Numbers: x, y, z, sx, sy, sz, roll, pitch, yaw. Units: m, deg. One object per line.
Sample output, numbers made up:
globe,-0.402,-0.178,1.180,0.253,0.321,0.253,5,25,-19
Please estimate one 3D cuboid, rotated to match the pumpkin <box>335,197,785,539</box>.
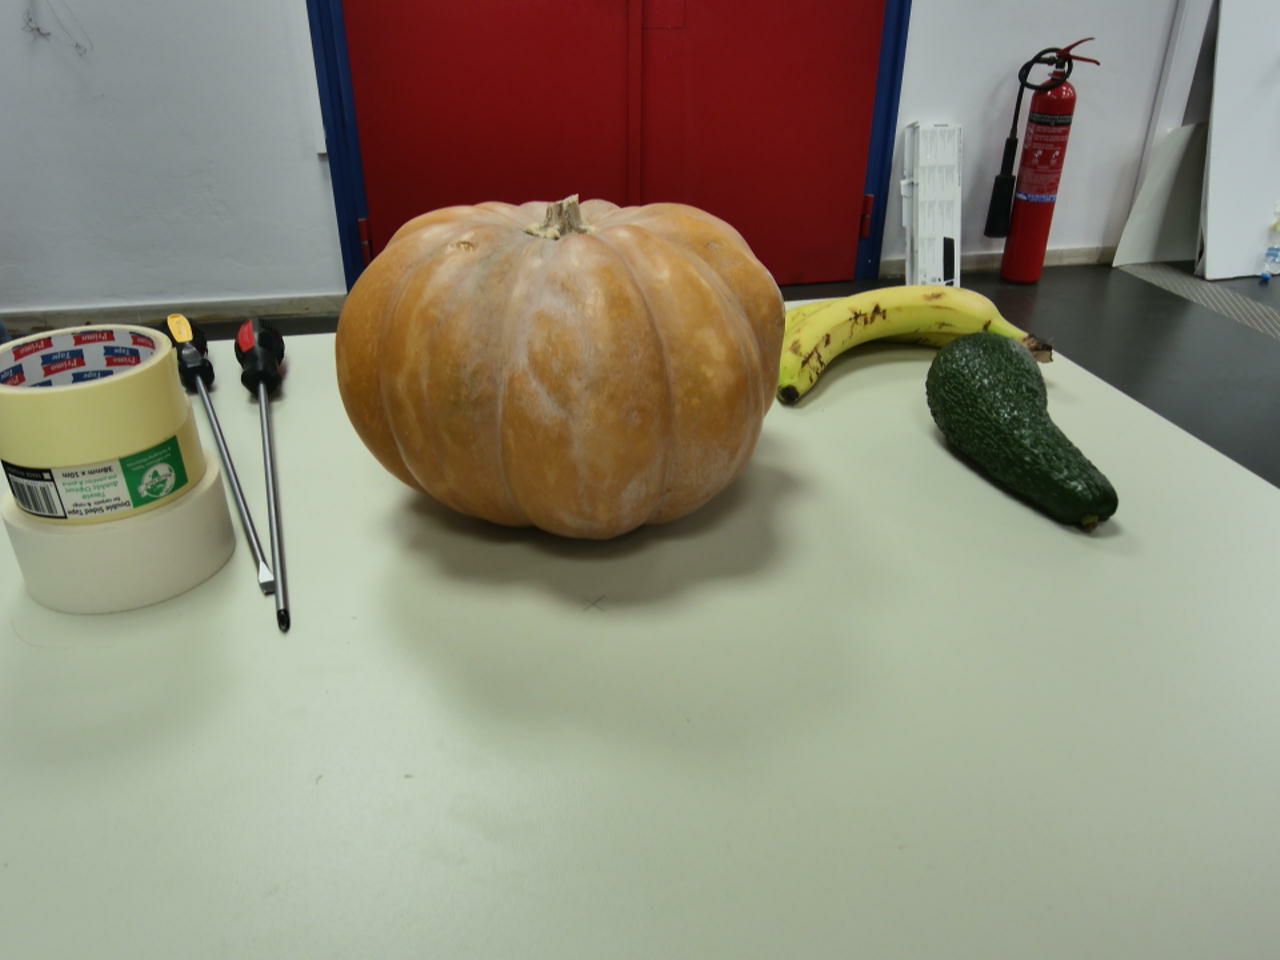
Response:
pumpkin,-0.043,-0.075,0.593,0.277,0.181,0.277,0,27,0
